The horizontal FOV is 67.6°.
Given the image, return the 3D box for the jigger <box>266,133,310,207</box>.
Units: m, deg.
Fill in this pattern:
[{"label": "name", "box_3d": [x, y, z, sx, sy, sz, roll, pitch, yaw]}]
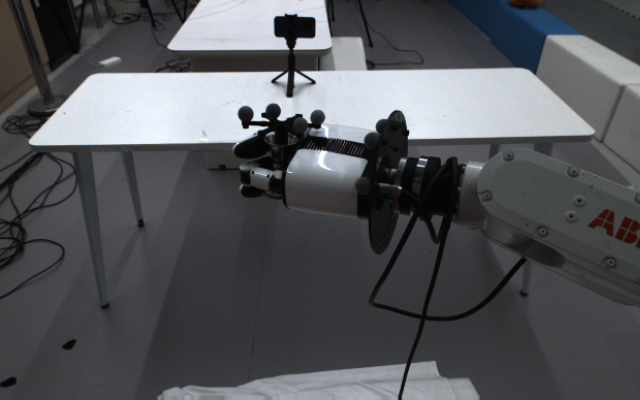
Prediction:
[{"label": "jigger", "box_3d": [-0.042, -0.040, 0.576, 0.043, 0.071, 0.043, 3, 25, -1]}]
